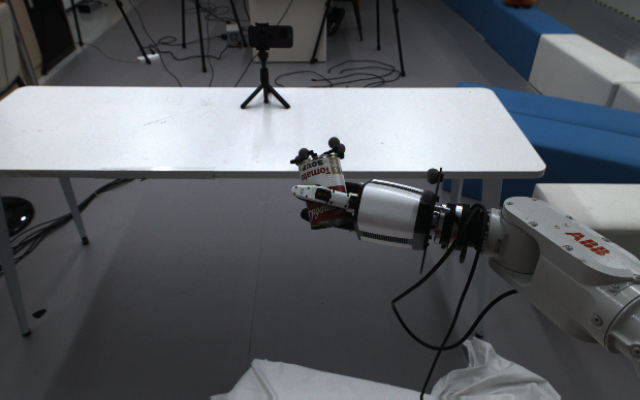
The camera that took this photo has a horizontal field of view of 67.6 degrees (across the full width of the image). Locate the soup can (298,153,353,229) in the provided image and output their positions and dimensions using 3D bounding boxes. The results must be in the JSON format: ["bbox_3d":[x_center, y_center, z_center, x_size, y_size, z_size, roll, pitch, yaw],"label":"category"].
[{"bbox_3d":[0.009,-0.011,0.745,0.067,0.067,0.101,-10,80,-17],"label":"soup can"}]
